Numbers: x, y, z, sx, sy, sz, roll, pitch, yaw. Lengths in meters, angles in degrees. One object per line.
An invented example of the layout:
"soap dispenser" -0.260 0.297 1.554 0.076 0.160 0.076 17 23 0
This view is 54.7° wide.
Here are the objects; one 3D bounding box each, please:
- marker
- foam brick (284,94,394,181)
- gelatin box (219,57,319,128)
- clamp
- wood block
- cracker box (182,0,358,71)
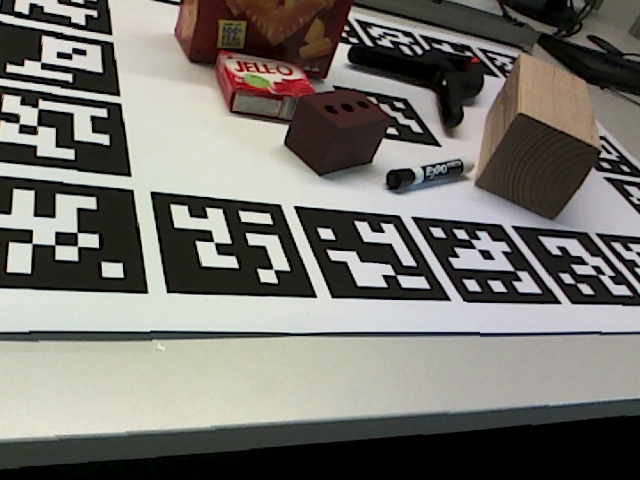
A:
"marker" 0.101 -0.061 0.595 0.120 0.019 0.020 -16 55 -39
"foam brick" 0.016 -0.096 0.567 0.077 0.051 0.053 -21 59 -42
"gelatin box" -0.048 -0.145 0.612 0.089 0.030 0.073 1 46 -26
"clamp" 0.152 -0.214 0.785 0.166 0.036 0.202 42 42 19
"wood block" 0.237 -0.124 0.688 0.090 0.091 0.206 24 36 2
"cracker box" -0.032 -0.286 0.622 0.163 0.213 0.072 0 44 -30
